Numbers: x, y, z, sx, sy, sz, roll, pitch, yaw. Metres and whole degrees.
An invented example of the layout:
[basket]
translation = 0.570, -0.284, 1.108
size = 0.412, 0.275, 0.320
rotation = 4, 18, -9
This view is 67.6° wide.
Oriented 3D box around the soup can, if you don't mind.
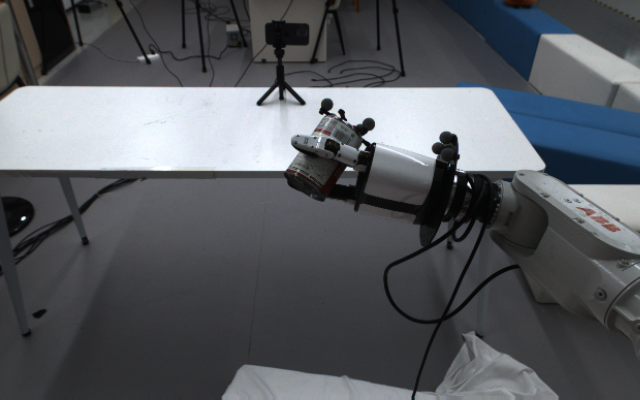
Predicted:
[soup can]
translation = 0.005, -0.058, 0.671
size = 0.067, 0.067, 0.101
rotation = 26, 75, 30
